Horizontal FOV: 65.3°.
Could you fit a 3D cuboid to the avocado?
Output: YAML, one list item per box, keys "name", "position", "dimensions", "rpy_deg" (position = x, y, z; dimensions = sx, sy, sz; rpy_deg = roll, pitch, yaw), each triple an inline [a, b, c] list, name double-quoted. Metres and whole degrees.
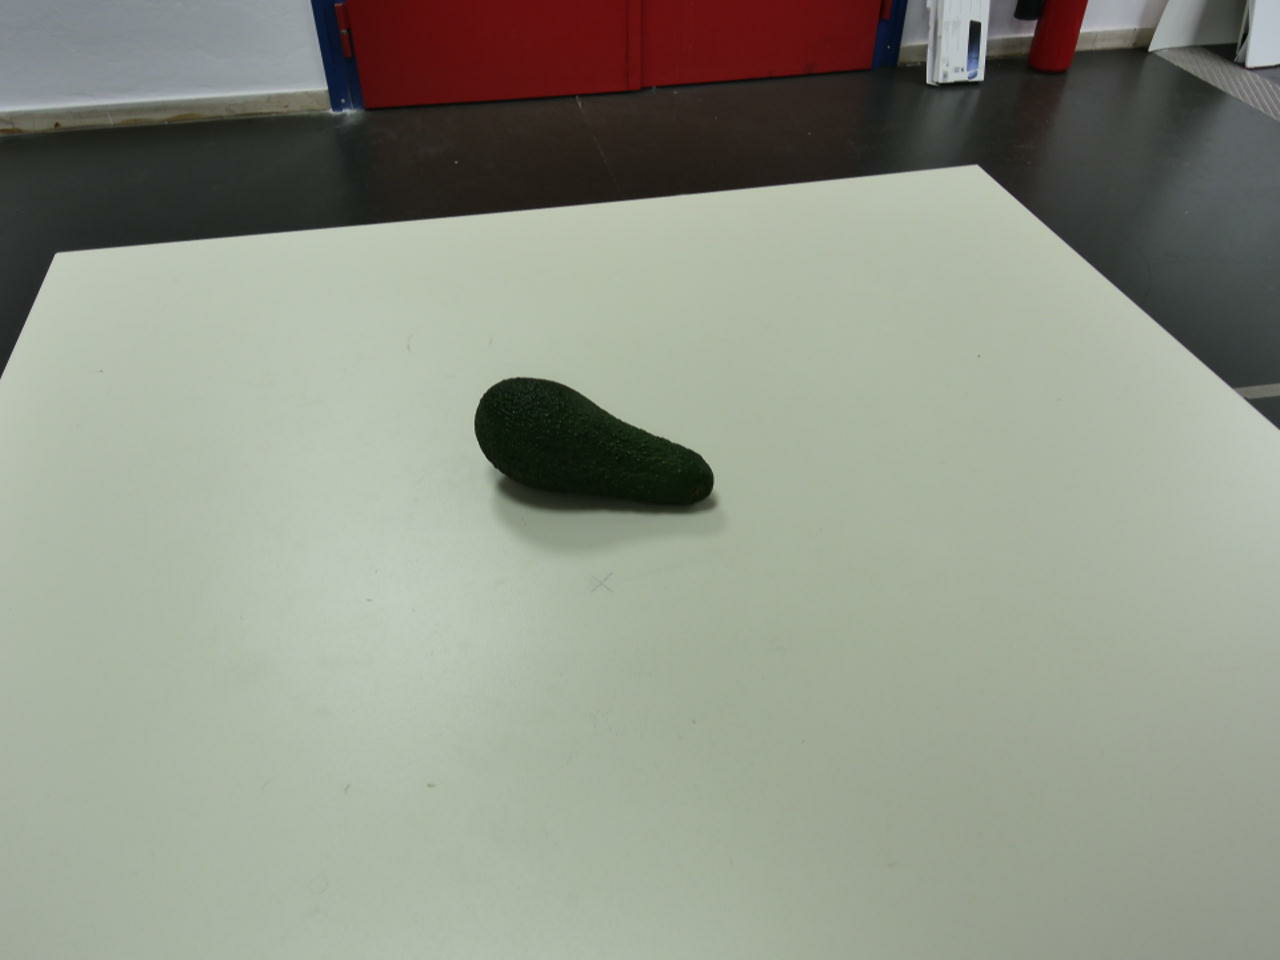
- name: "avocado"
  position: [-0.026, -0.026, 0.577]
  dimensions: [0.141, 0.067, 0.063]
  rpy_deg: [2, 39, 2]
